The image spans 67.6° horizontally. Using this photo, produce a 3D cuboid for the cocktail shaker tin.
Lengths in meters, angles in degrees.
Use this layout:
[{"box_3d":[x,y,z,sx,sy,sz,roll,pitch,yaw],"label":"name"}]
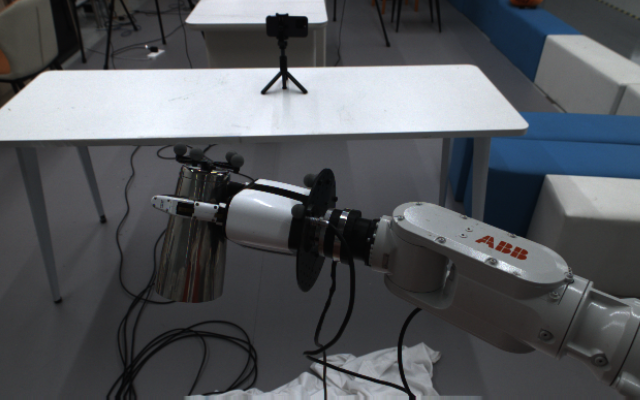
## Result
[{"box_3d":[-0.163,0.039,0.655,0.093,0.170,0.093,10,10,-2],"label":"cocktail shaker tin"}]
